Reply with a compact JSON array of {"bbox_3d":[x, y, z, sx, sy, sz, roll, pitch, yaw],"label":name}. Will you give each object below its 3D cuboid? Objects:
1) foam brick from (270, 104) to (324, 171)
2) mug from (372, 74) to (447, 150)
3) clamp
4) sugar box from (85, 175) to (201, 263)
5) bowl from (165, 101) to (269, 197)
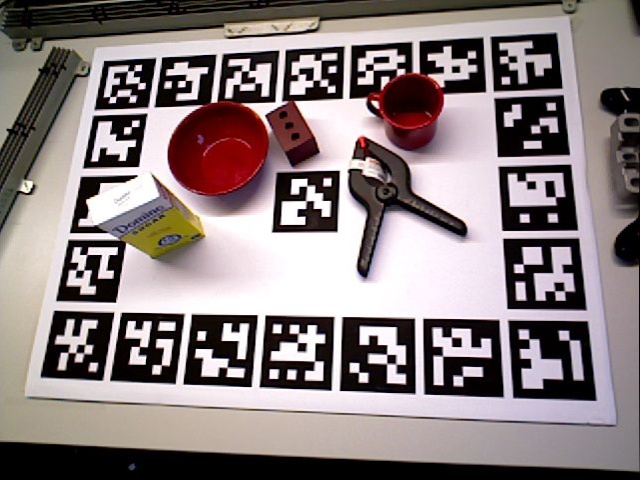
[{"bbox_3d":[-0.036,-0.156,0.835,0.052,0.051,0.078,-26,72,1],"label":"foam brick"},{"bbox_3d":[0.130,-0.189,0.793,0.117,0.082,0.092,26,78,12],"label":"mug"},{"bbox_3d":[0.095,-0.060,0.781,0.165,0.037,0.202,-23,73,4],"label":"clamp"},{"bbox_3d":[-0.239,-0.024,0.758,0.092,0.178,0.045,-24,72,-1],"label":"sugar box"},{"bbox_3d":[-0.153,-0.132,0.839,0.161,0.055,0.160,-3,74,7],"label":"bowl"}]
